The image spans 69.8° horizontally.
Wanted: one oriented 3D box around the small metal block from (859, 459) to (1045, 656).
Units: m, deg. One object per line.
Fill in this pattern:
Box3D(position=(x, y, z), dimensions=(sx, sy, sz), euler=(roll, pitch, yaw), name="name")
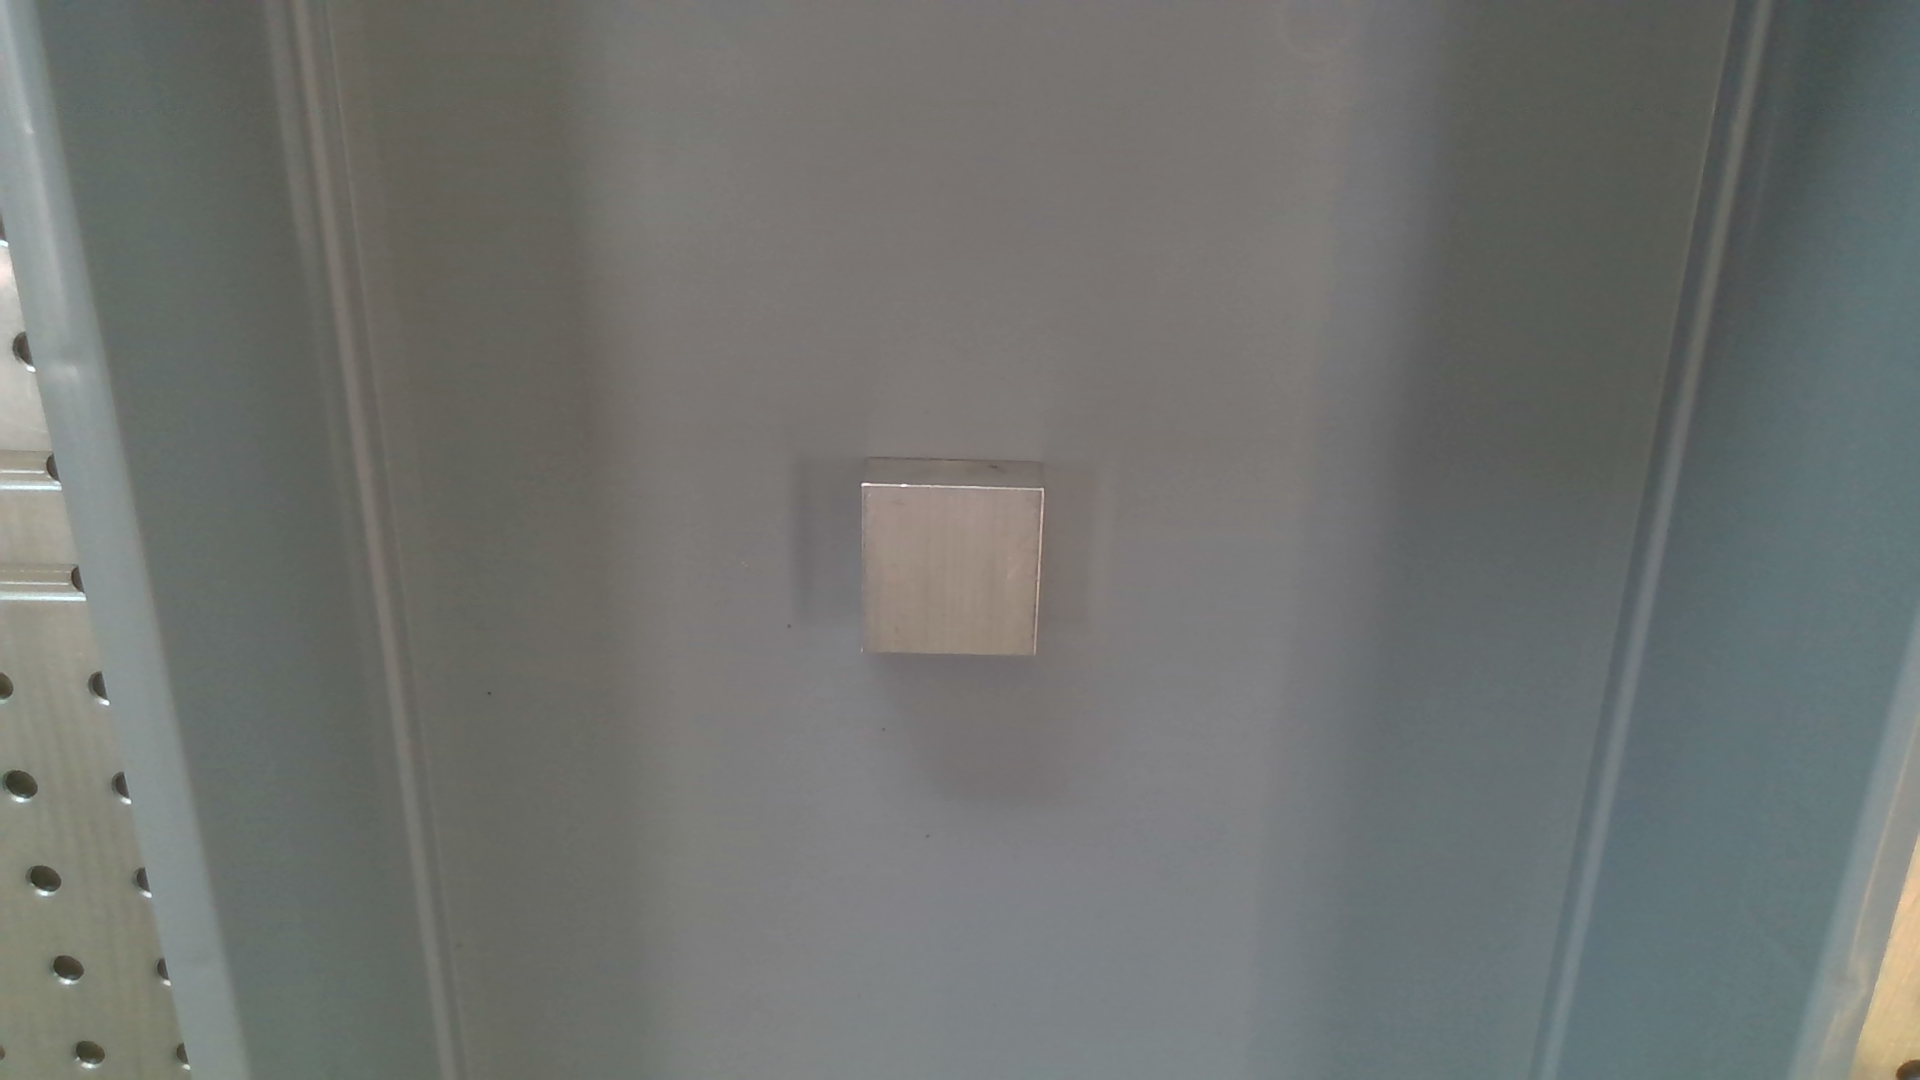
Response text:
Box3D(position=(-0.003, 0.004, 0.391), dimensions=(0.050, 0.025, 0.050), euler=(2, 110, 0), name="small metal block")
